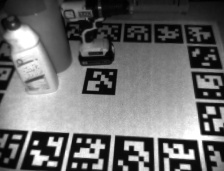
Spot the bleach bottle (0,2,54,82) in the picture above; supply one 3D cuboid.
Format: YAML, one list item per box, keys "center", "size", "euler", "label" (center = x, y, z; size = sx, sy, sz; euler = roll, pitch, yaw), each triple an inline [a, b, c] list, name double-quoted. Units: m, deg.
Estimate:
- center: [-0.237, -0.104, 0.568]
  size: [0.102, 0.252, 0.067]
  euler: [-5, 58, 2]
  label: "bleach bottle"

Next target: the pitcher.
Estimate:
- center: [-0.216, -0.178, 0.637]
  size: [0.189, 0.244, 0.132]
  euler: [-21, 60, -9]
  label: "pitcher"

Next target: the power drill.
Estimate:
- center: [-0.047, -0.184, 0.643]
  size: [0.185, 0.187, 0.057]
  euler: [0, 61, -3]
  label: "power drill"
